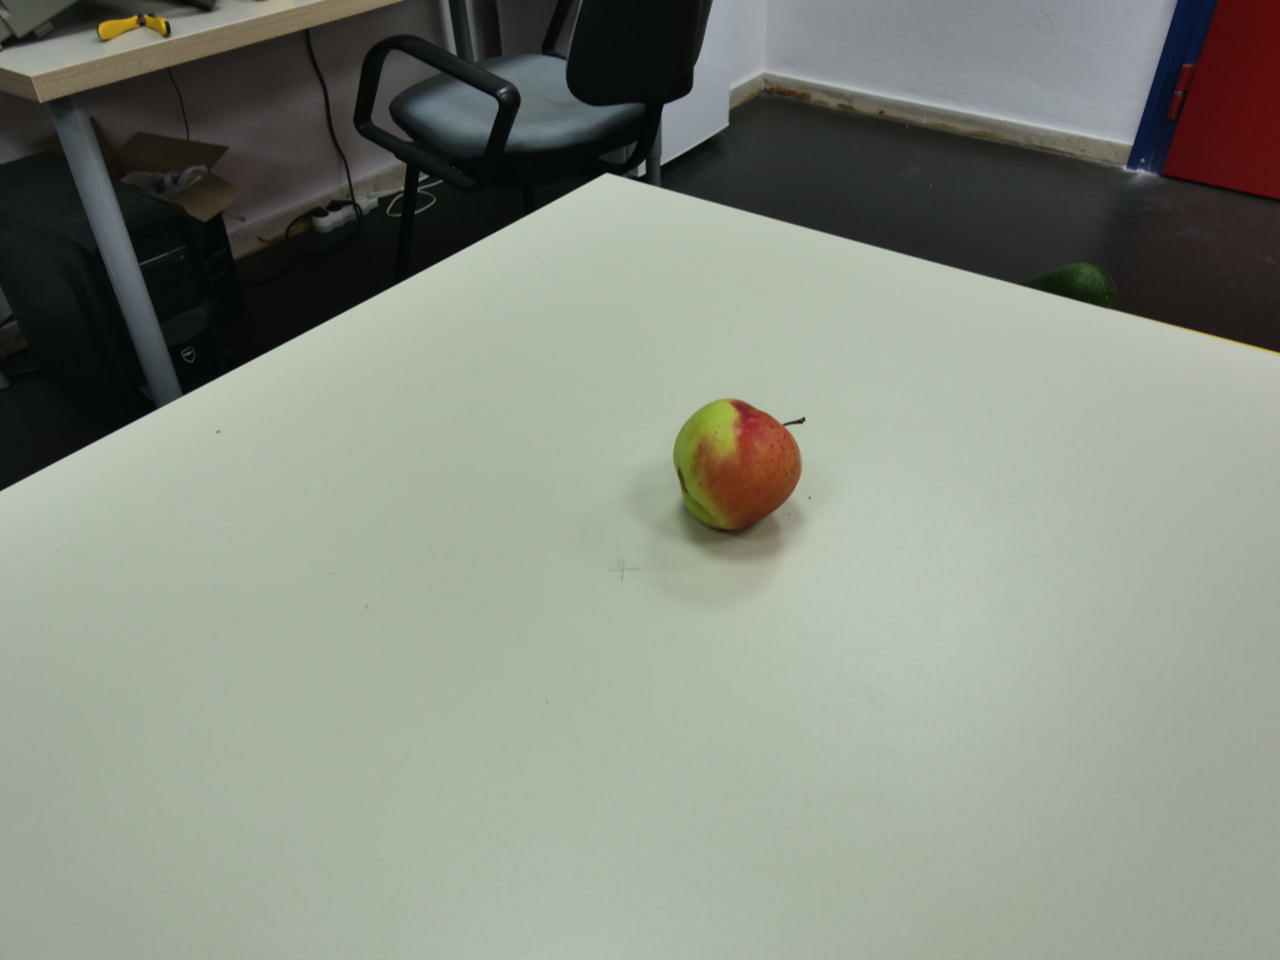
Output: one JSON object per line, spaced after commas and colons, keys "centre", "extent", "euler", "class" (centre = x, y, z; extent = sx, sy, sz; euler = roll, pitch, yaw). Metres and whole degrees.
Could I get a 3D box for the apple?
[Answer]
{"centre": [0.055, -0.008, 0.580], "extent": [0.075, 0.074, 0.075], "euler": [11, 38, 14], "class": "apple"}
